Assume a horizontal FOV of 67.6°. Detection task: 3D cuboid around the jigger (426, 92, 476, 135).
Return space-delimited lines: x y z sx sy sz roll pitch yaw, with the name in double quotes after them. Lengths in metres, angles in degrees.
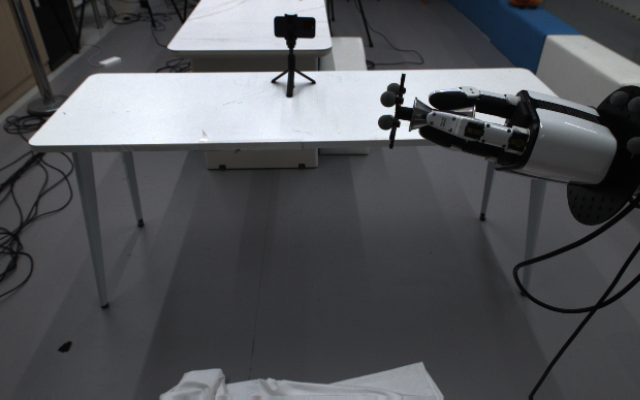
0.148 -0.099 0.565 0.071 0.043 0.043 9 35 9 "jigger"
